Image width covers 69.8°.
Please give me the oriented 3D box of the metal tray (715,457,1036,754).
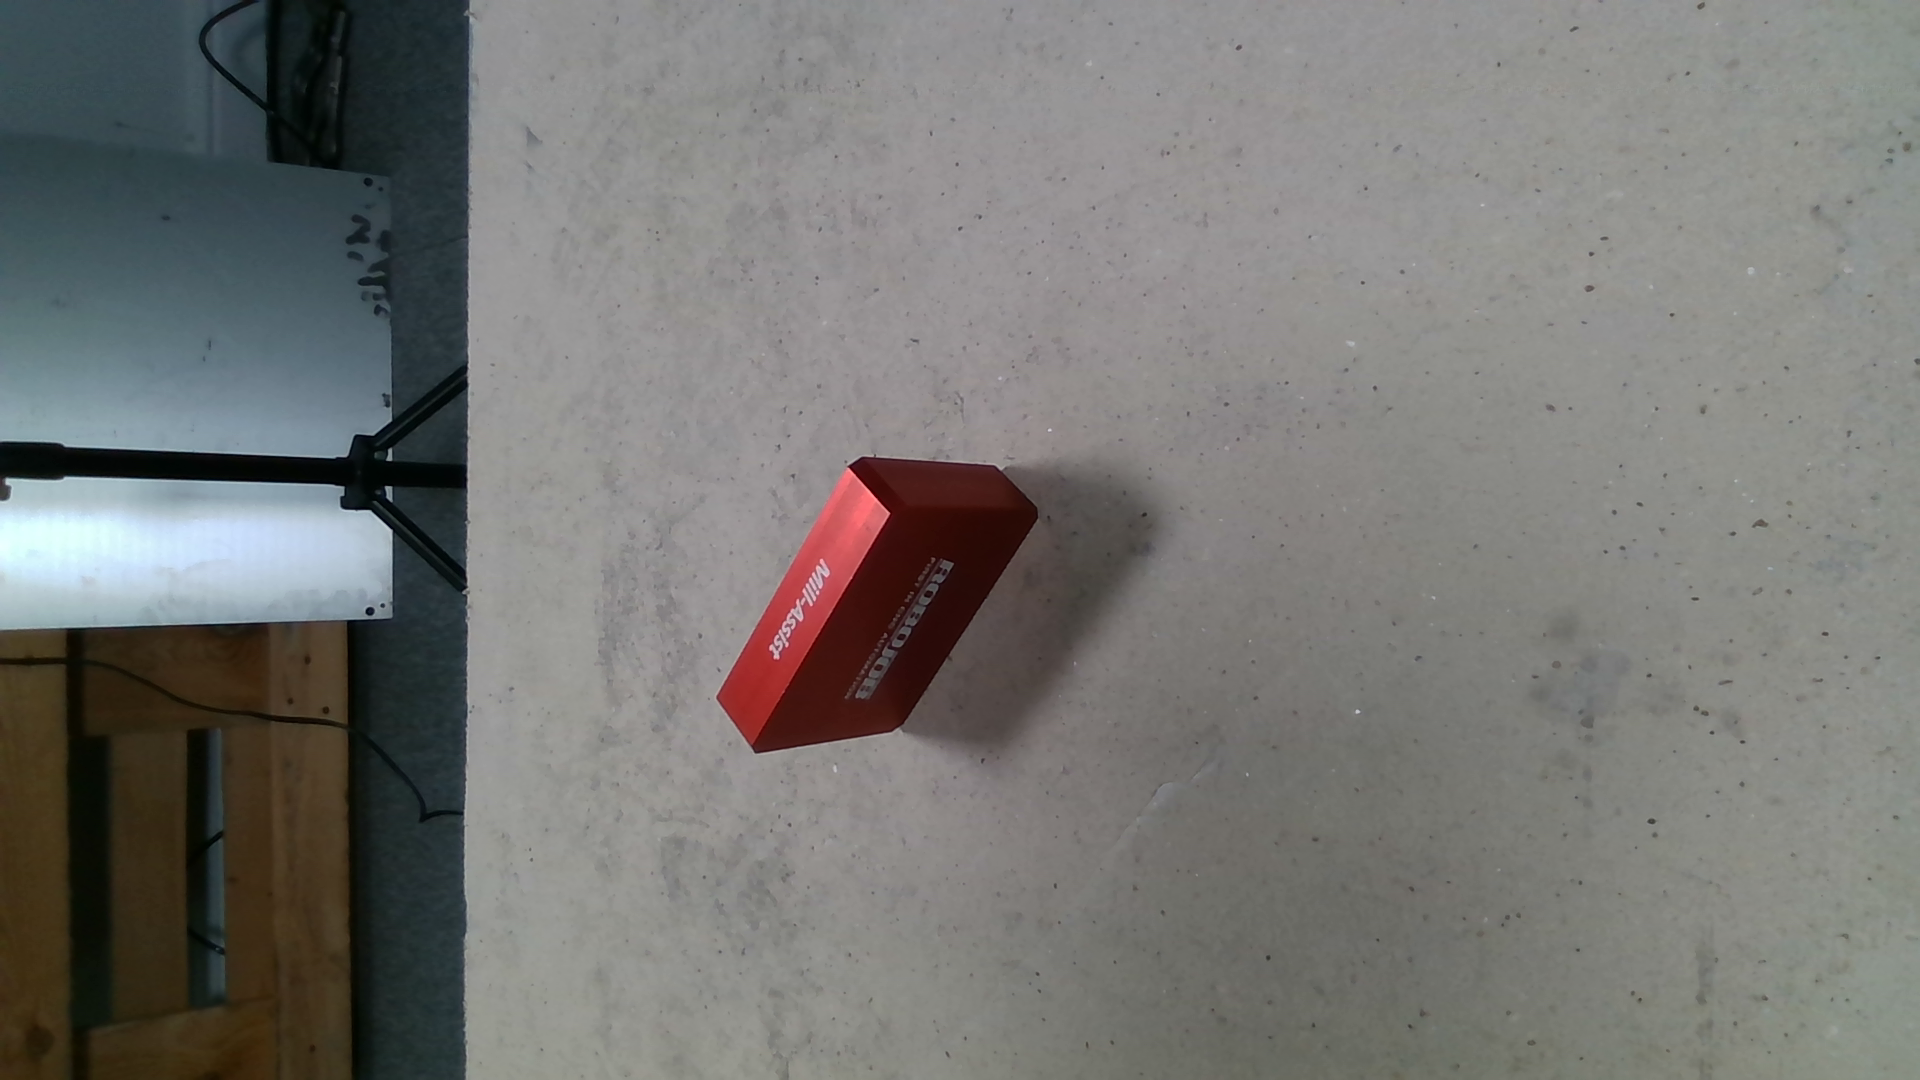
[{"bbox_3d":[-0.034,0.028,0.569,0.030,0.090,0.130,47,119,30],"label":"metal tray"}]
